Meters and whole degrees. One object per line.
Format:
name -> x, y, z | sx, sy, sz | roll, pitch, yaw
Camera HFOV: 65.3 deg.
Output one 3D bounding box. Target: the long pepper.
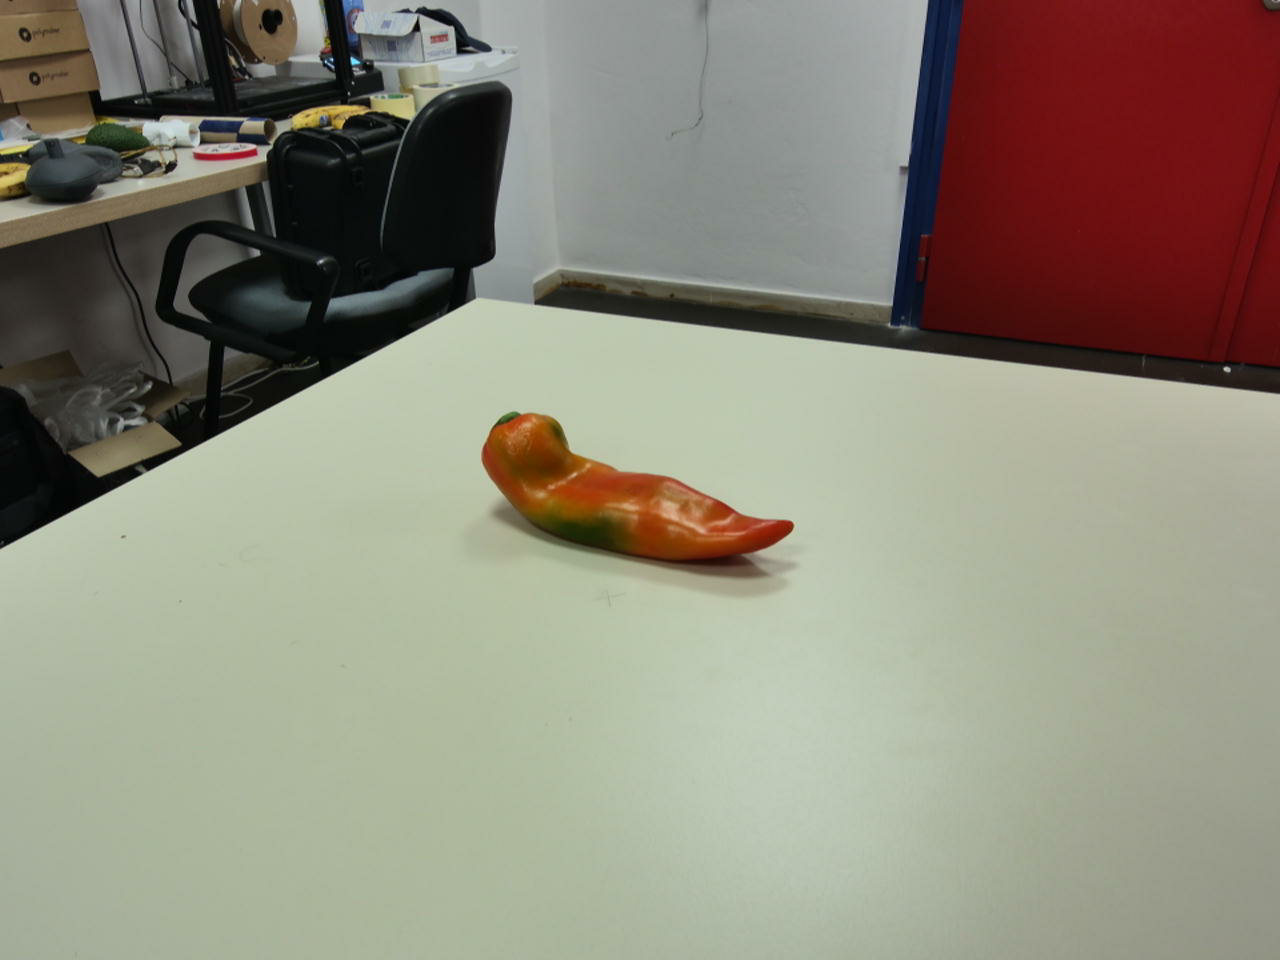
long pepper -> -0.006, 0.004, 0.590 | 0.199, 0.065, 0.066 | 13, 29, 26
